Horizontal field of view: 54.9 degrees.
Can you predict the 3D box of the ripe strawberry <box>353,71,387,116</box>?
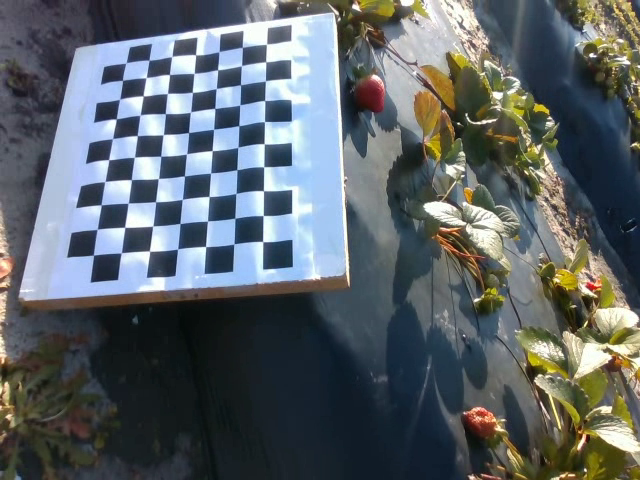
[{"bbox_3d":[0.064,-0.166,0.717,0.044,0.064,0.044,-20,-28,-3],"label":"ripe strawberry"}]
